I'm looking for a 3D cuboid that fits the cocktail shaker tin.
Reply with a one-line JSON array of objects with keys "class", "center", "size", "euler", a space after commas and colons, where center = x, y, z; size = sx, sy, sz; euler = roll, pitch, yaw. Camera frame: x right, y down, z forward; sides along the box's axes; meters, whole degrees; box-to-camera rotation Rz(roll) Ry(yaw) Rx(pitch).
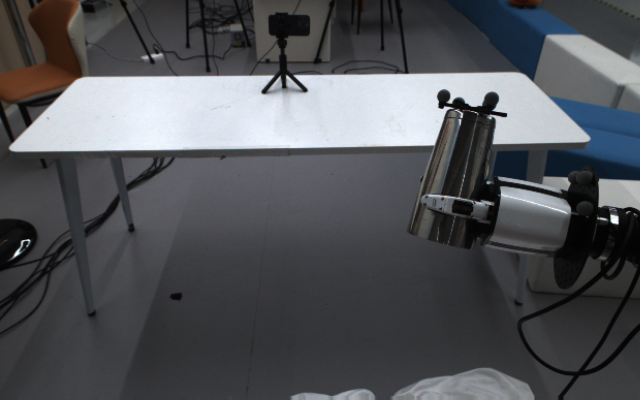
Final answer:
[{"class": "cocktail shaker tin", "center": [0.181, -0.030, 0.647], "size": [0.093, 0.170, 0.093], "euler": [13, 4, -1]}]
